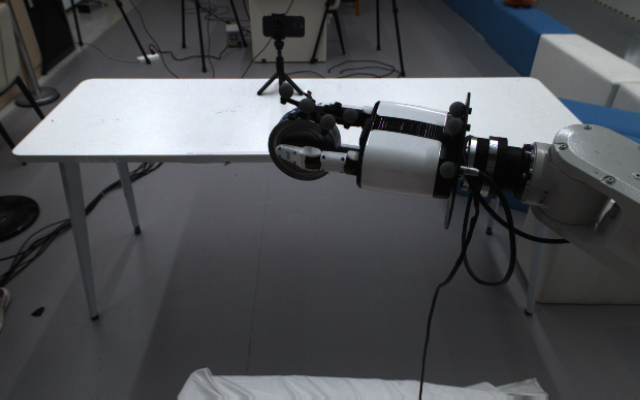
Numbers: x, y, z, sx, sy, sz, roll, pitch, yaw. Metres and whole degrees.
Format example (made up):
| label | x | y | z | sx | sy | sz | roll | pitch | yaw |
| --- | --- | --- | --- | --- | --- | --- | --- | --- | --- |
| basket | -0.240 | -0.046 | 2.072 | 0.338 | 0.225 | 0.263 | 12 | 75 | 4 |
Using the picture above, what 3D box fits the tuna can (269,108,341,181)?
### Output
| label | x | y | z | sx | sy | sz | roll | pitch | yaw |
| --- | --- | --- | --- | --- | --- | --- | --- | --- | --- |
| tuna can | -0.017 | -0.069 | 0.598 | 0.085 | 0.085 | 0.034 | 9 | 35 | 10 |
